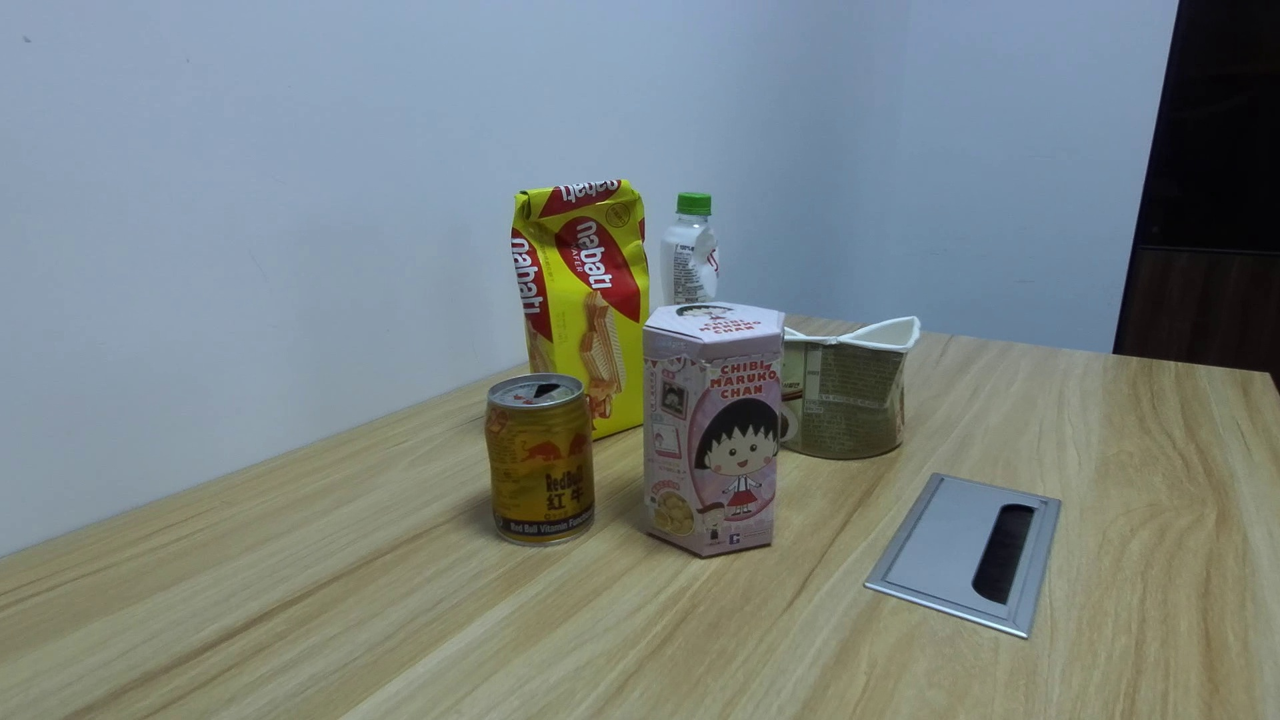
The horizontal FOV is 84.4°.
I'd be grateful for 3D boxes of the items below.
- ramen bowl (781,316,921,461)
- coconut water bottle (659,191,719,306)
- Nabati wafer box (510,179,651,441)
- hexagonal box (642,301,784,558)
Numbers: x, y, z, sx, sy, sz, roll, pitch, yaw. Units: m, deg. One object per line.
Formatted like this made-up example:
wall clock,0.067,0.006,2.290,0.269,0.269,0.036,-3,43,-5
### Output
ramen bowl,0.154,0.015,0.575,0.128,0.093,0.112,7,19,21
coconut water bottle,0.048,-0.061,0.664,0.069,0.187,0.069,0,14,0
Nabati wafer box,-0.042,-0.037,0.571,0.114,0.205,0.042,-16,22,-35
hexagonal box,0.046,0.040,0.431,0.091,0.136,0.083,-7,18,-17
